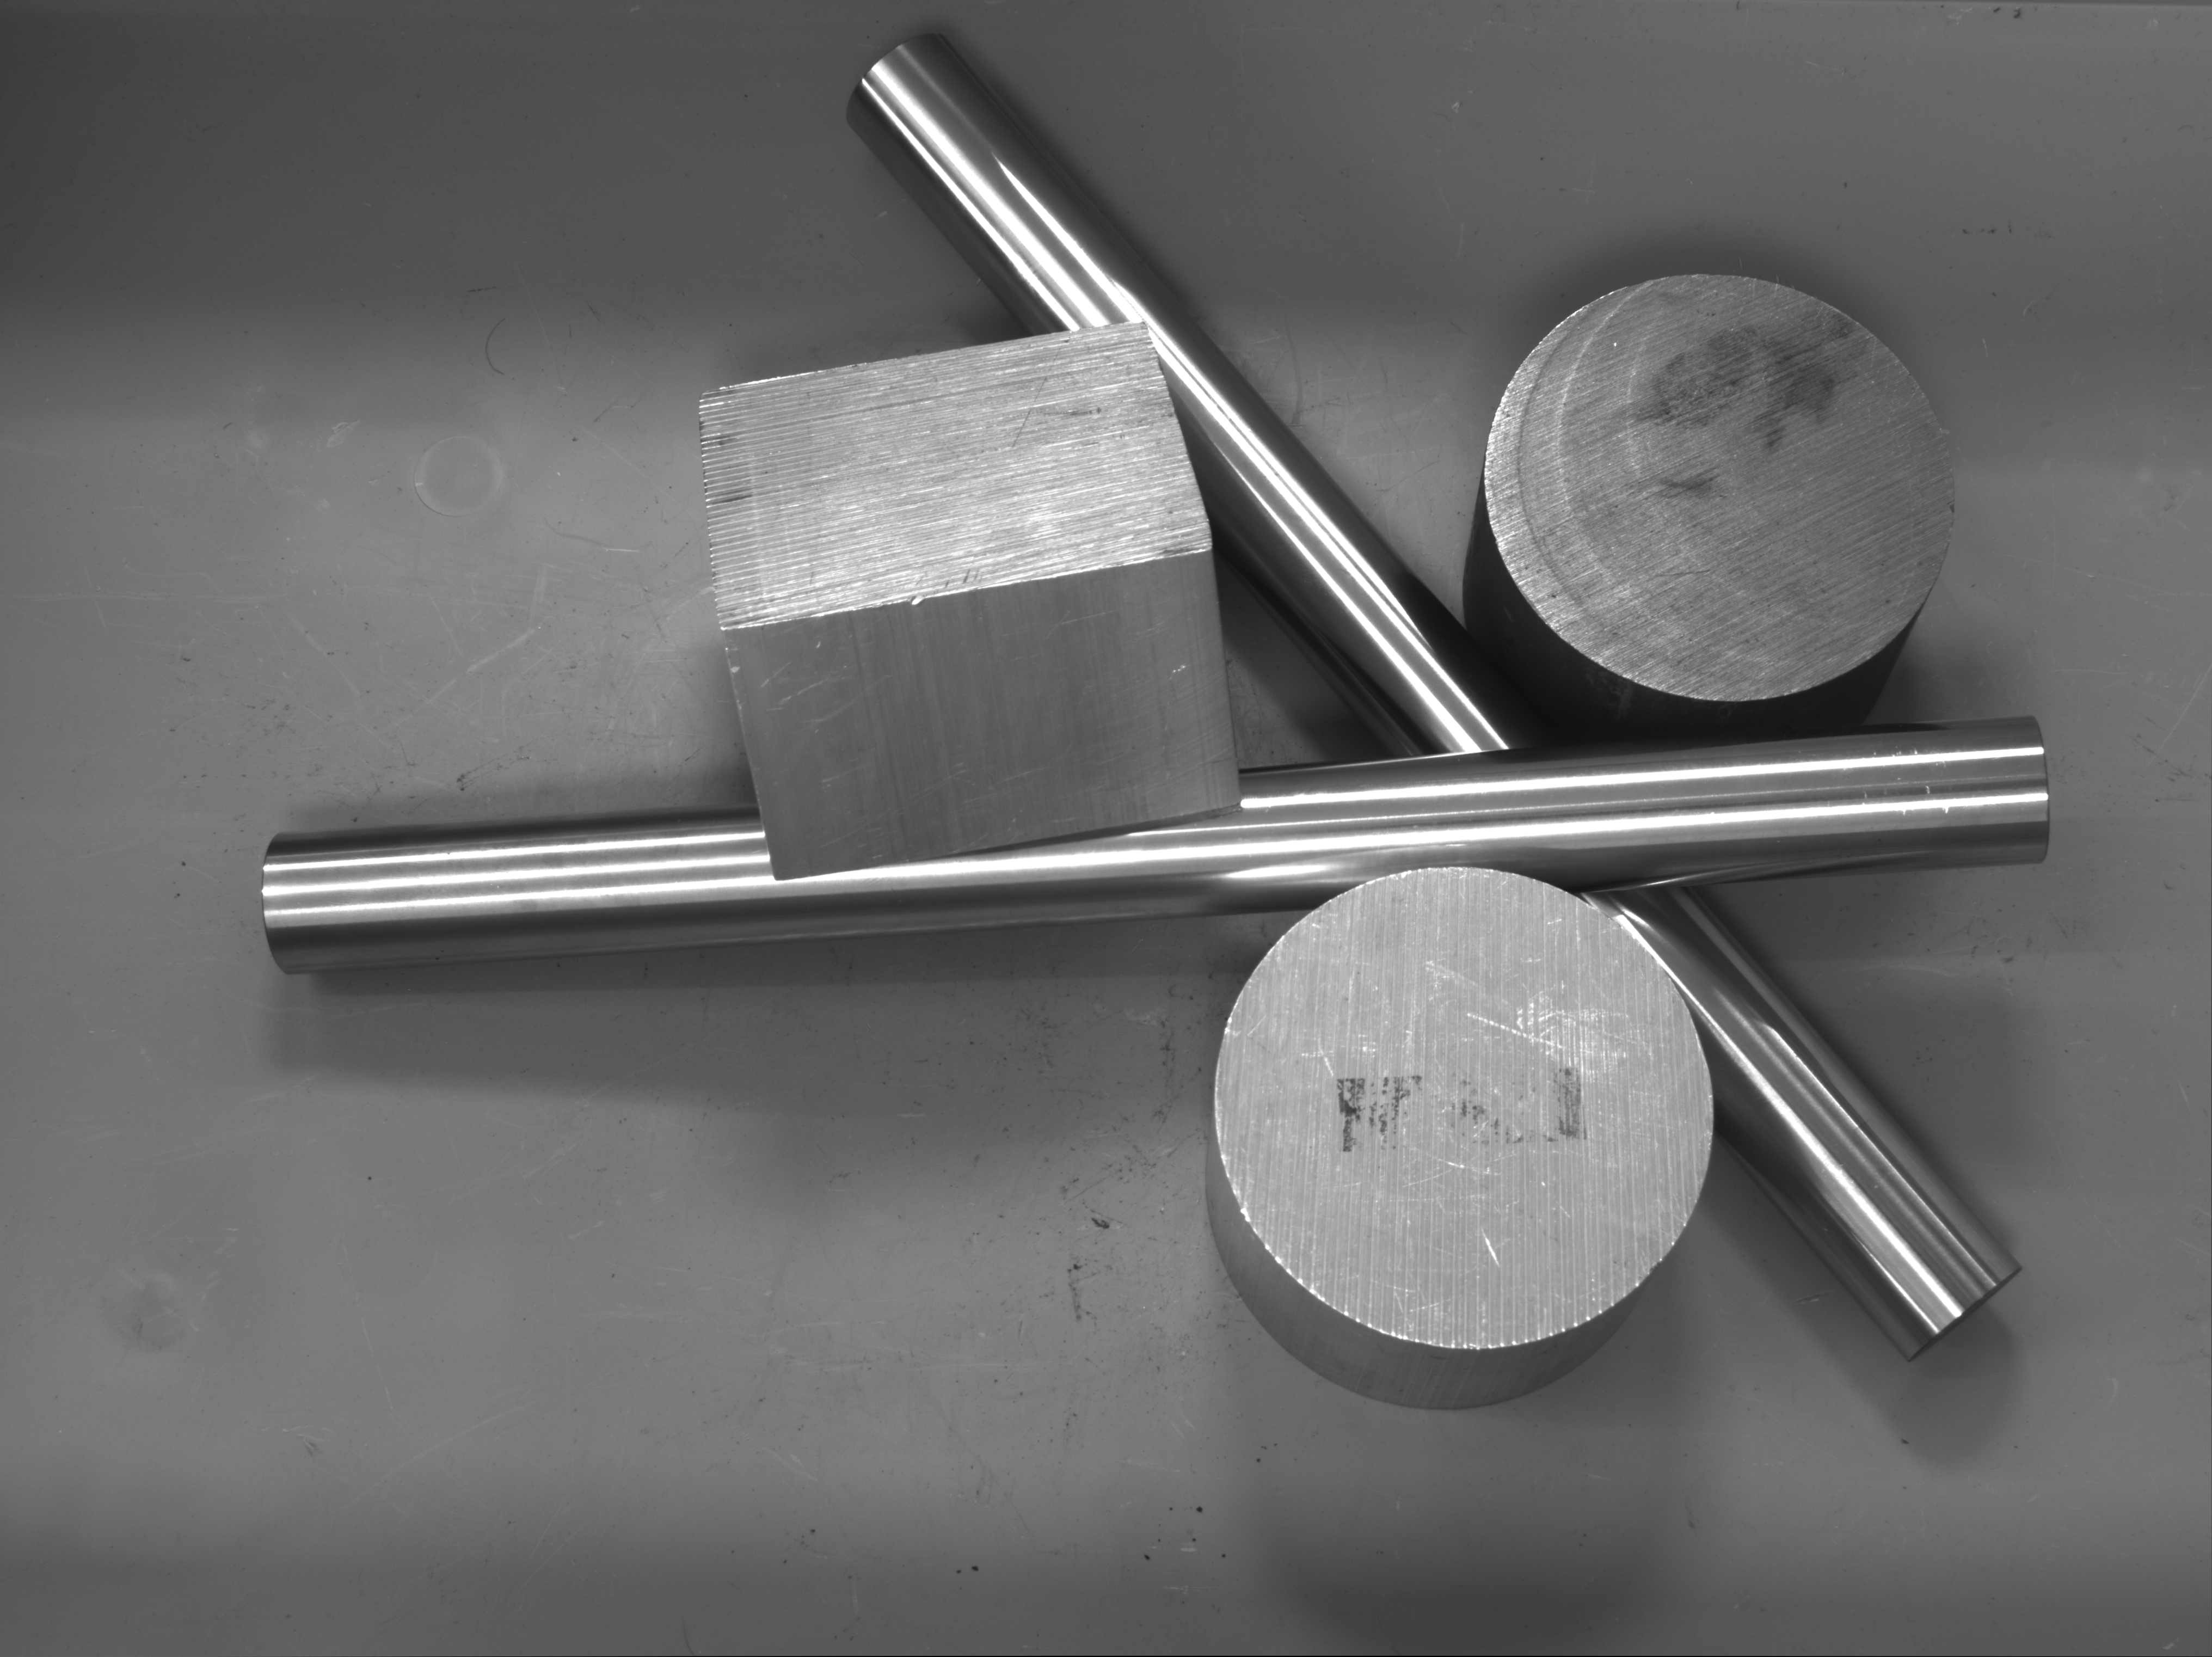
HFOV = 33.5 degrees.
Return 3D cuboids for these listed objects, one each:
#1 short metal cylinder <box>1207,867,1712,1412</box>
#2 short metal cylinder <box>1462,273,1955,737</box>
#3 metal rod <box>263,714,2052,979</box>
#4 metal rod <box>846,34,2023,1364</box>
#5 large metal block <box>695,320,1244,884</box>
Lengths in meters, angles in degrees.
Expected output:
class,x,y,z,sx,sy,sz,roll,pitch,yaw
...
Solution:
class,x,y,z,sx,sy,sz,roll,pitch,yaw
short metal cylinder,0.057,0.052,0.612,0.080,0.050,0.080,0,70,0
short metal cylinder,0.105,-0.051,0.650,0.080,0.050,0.080,0,70,0
metal rod,0.006,0.004,0.625,0.300,0.025,0.025,-4,70,5
metal rod,0.052,-0.030,0.655,0.025,0.025,0.300,-36,74,-12
large metal block,-0.024,-0.040,0.626,0.080,0.050,0.080,-9,35,-3
